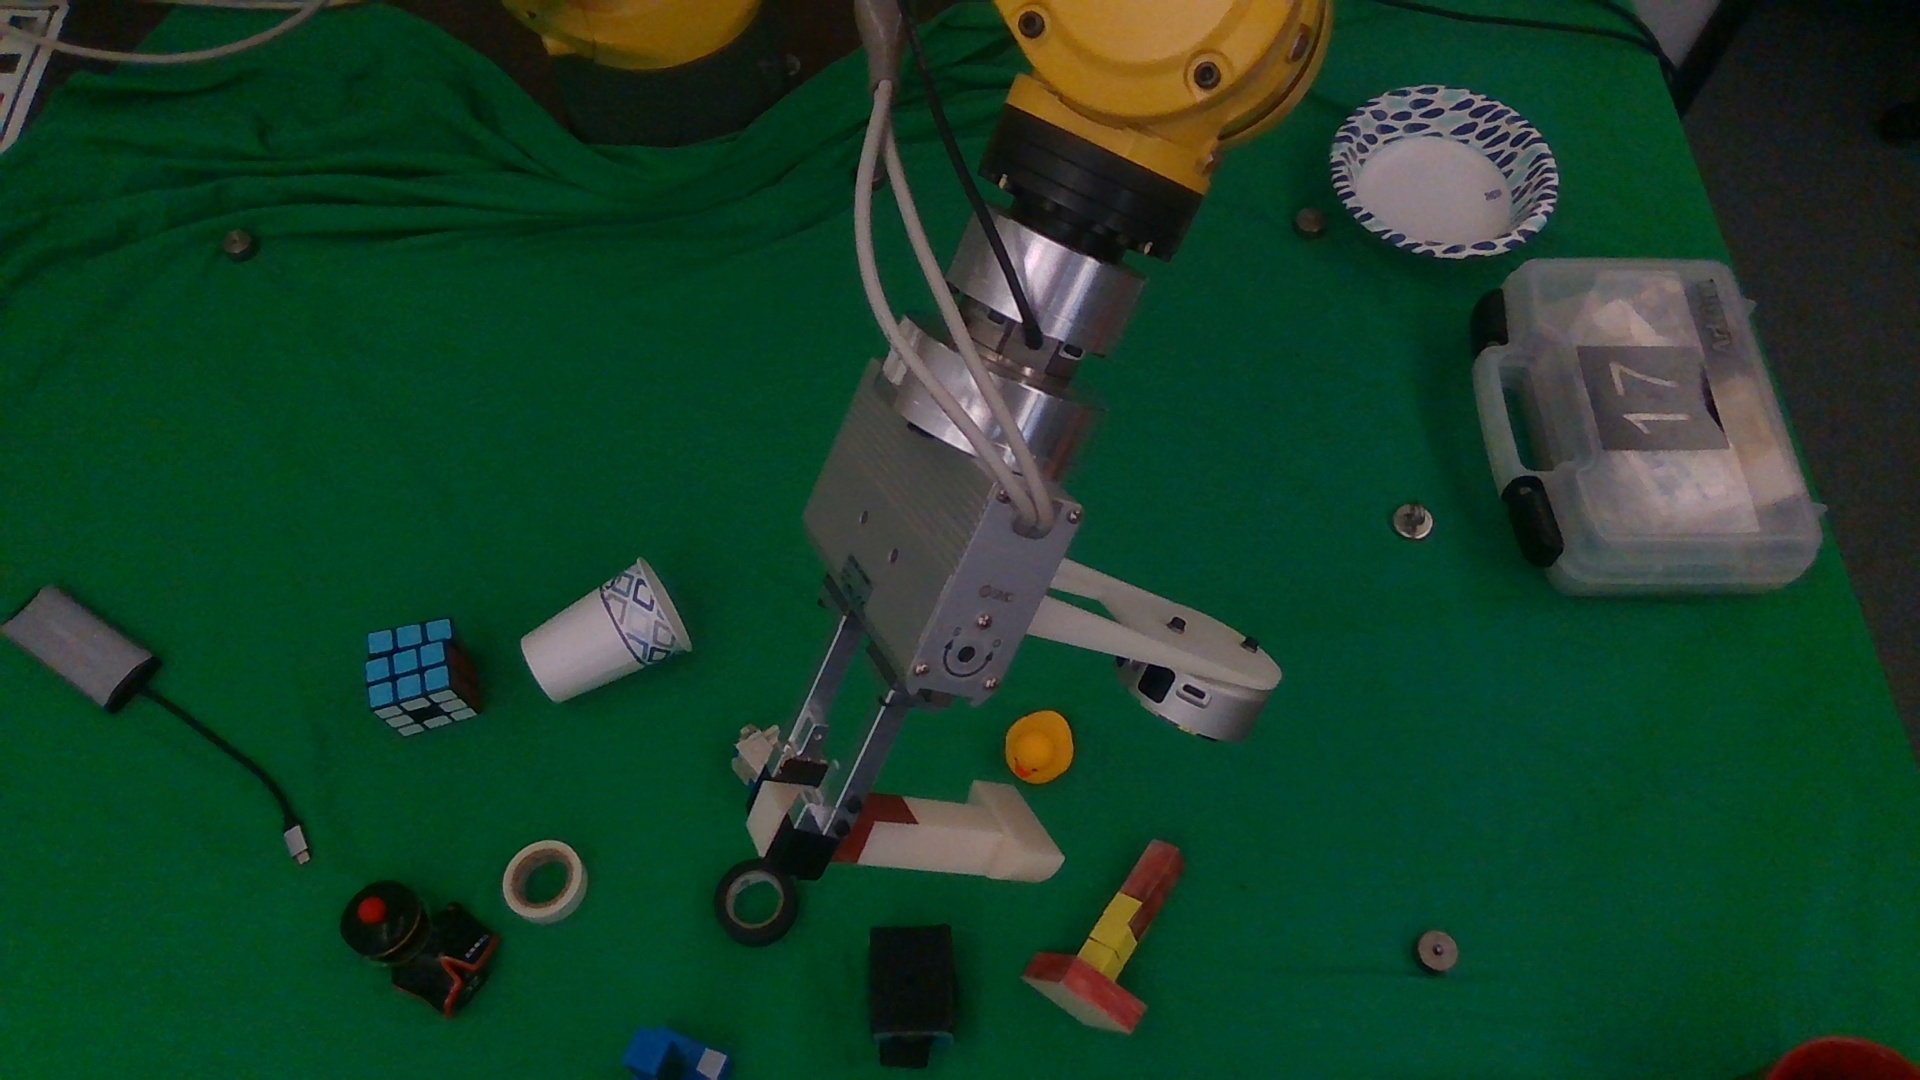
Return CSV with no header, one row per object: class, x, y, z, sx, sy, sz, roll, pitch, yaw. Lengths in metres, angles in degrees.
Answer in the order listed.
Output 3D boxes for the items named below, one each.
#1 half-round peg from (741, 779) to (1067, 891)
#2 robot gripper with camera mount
half-round peg,-0.023,0.109,0.520,0.121,0.031,0.054,13,20,-29
robot gripper with camera mount,0.024,0.059,0.521,0.193,0.159,0.119,16,19,-32
